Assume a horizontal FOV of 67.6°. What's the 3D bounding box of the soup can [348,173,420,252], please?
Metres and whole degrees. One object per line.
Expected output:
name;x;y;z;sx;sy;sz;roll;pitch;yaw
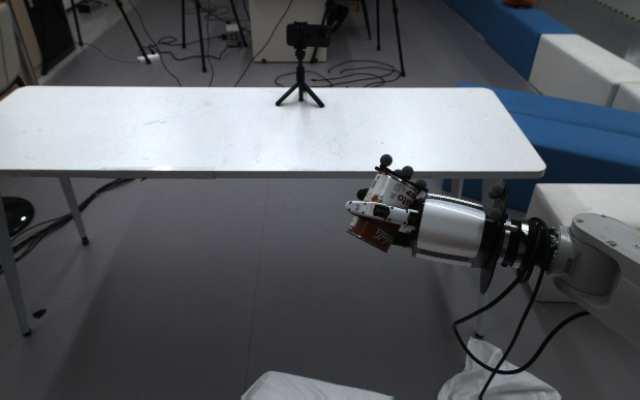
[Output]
soup can;0.093;0.018;0.708;0.067;0.101;0.067;29;-3;1
